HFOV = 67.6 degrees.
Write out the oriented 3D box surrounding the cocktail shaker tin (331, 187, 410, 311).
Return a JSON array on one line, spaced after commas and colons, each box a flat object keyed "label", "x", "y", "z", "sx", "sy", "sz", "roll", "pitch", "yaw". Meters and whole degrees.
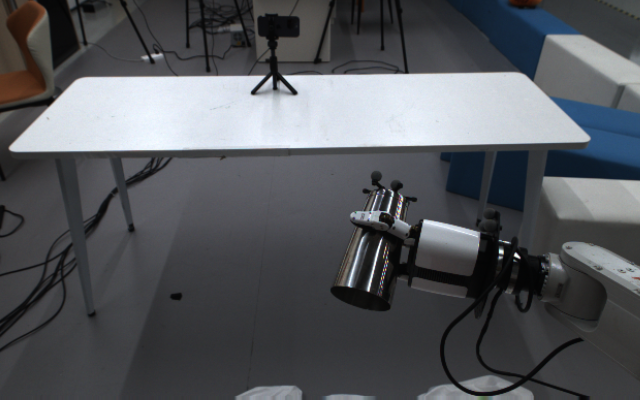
[{"label": "cocktail shaker tin", "x": 0.082, "y": 0.071, "z": 0.734, "sx": 0.093, "sy": 0.093, "sz": 0.170, "roll": 13, "pitch": 64, "yaw": 15}]
